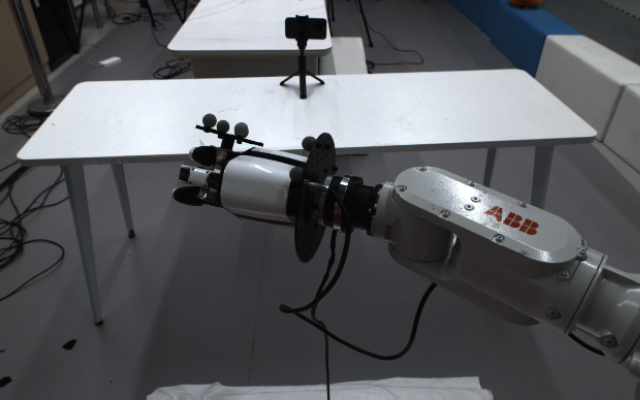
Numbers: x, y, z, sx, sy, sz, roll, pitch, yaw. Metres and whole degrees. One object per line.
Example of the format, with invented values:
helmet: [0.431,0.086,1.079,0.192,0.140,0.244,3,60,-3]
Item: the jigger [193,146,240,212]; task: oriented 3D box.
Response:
jigger: [-0.128,-0.032,0.615,0.043,0.071,0.043,17,2,-1]
